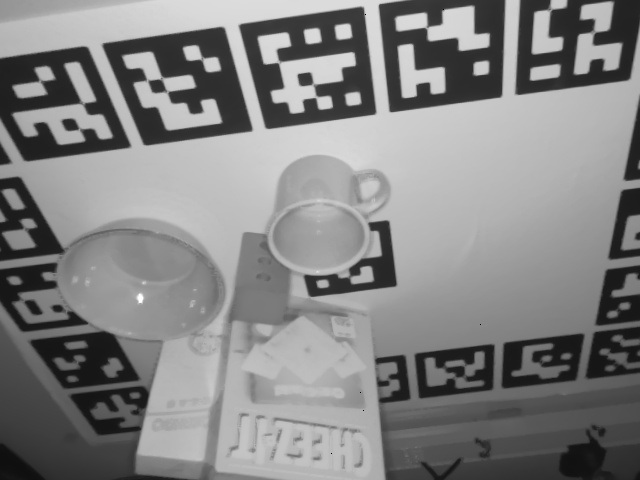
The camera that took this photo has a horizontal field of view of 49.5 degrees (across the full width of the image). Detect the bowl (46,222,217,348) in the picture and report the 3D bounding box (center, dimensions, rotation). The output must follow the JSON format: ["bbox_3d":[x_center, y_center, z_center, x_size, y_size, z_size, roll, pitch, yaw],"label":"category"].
[{"bbox_3d":[-0.181,0.036,0.688,0.162,0.055,0.160,-1,129,-1],"label":"bowl"}]

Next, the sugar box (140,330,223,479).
[{"bbox_3d":[-0.130,0.174,0.740,0.093,0.178,0.045,9,129,-9],"label":"sugar box"}]

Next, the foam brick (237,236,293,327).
[{"bbox_3d":[-0.055,0.041,0.703,0.053,0.078,0.051,4,131,-6],"label":"foam brick"}]

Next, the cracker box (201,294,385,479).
[{"bbox_3d":[-0.022,0.161,0.711,0.165,0.215,0.071,16,130,-14],"label":"cracker box"}]

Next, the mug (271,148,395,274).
[{"bbox_3d":[0.012,-0.032,0.631,0.117,0.082,0.093,-15,137,8],"label":"mug"}]
